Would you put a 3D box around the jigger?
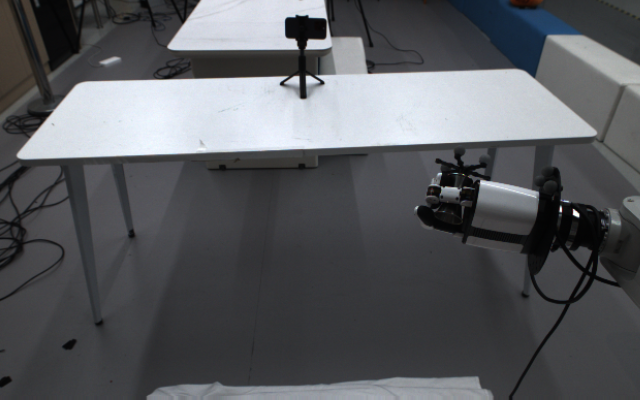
[{"bbox_3d":[0.205,-0.006,0.738,0.043,0.043,0.071,16,70,19],"label":"jigger"}]
